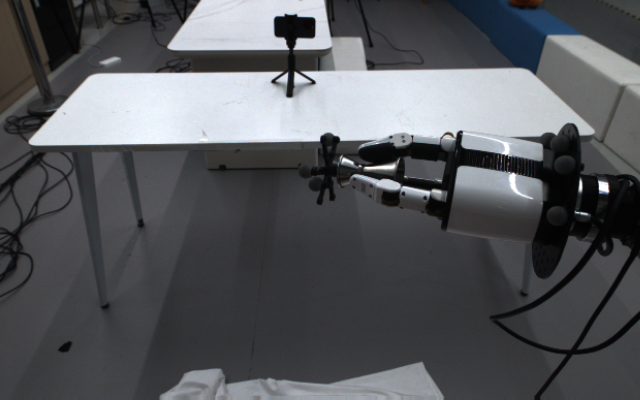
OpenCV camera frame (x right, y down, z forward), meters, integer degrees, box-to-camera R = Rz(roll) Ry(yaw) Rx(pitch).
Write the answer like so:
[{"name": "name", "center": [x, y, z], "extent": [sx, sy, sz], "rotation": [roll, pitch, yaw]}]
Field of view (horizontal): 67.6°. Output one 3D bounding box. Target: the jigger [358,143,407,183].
[{"name": "jigger", "center": [0.065, -0.036, 0.547], "extent": [0.071, 0.043, 0.043], "rotation": [5, 34, 21]}]
